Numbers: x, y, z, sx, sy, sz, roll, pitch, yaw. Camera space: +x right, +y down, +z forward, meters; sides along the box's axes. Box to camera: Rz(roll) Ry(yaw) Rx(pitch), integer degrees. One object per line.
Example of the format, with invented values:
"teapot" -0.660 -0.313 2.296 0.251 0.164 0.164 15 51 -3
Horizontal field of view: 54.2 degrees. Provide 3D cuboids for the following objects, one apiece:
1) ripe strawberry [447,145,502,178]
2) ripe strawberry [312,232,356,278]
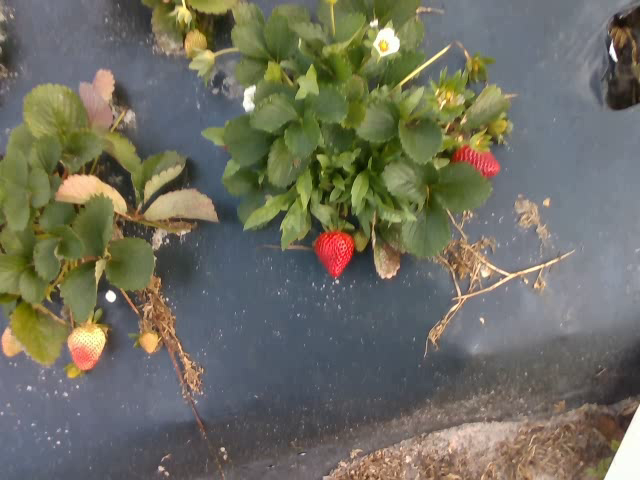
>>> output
"ripe strawberry" 0.153 -0.072 0.601 0.046 0.043 0.046 18 18 25
"ripe strawberry" 0.014 0.013 0.608 0.043 0.051 0.043 -4 -9 1
